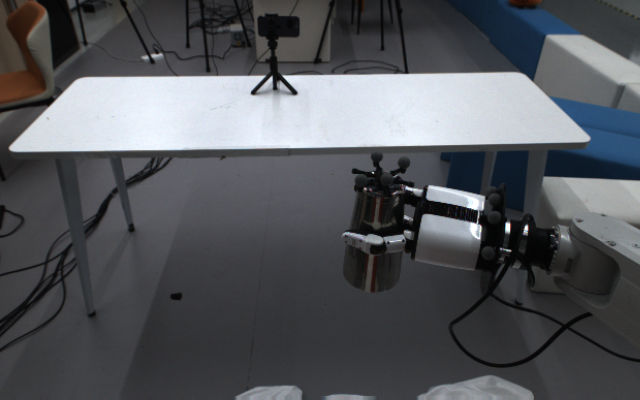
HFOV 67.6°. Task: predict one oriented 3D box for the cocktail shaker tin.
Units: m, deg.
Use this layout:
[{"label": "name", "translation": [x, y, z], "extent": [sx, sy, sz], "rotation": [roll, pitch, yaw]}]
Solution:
[{"label": "cocktail shaker tin", "translation": [0.086, 0.043, 0.722], "extent": [0.093, 0.170, 0.093], "rotation": [1, 36, -1]}]
